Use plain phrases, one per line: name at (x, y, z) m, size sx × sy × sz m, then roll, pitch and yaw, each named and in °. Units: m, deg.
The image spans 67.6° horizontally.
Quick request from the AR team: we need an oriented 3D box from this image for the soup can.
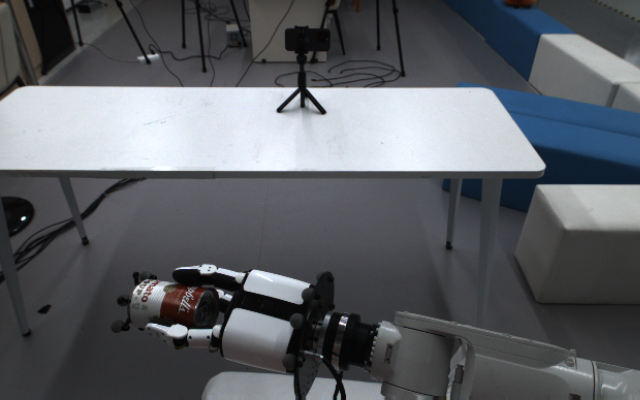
soup can at (-0.195, 0.148, 0.655) m, size 0.101 × 0.067 × 0.067 m, roll 5°, pitch 34°, yaw 14°
